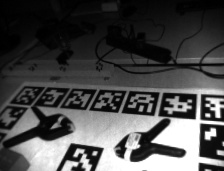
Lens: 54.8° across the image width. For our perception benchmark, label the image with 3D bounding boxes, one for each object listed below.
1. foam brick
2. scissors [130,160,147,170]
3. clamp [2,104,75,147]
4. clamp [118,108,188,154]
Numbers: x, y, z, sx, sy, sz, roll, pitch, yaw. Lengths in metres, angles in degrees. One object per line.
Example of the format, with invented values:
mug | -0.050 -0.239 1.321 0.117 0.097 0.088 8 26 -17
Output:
foam brick | -0.263 0.207 0.573 0.077 0.052 0.053 3 45 28
scissors | -0.001 0.228 0.480 0.204 0.016 0.086 -32 50 -21
clamp | -0.211 0.119 0.666 0.201 0.037 0.165 -2 39 15
clamp | 0.094 0.129 0.559 0.165 0.037 0.120 -18 47 -2
